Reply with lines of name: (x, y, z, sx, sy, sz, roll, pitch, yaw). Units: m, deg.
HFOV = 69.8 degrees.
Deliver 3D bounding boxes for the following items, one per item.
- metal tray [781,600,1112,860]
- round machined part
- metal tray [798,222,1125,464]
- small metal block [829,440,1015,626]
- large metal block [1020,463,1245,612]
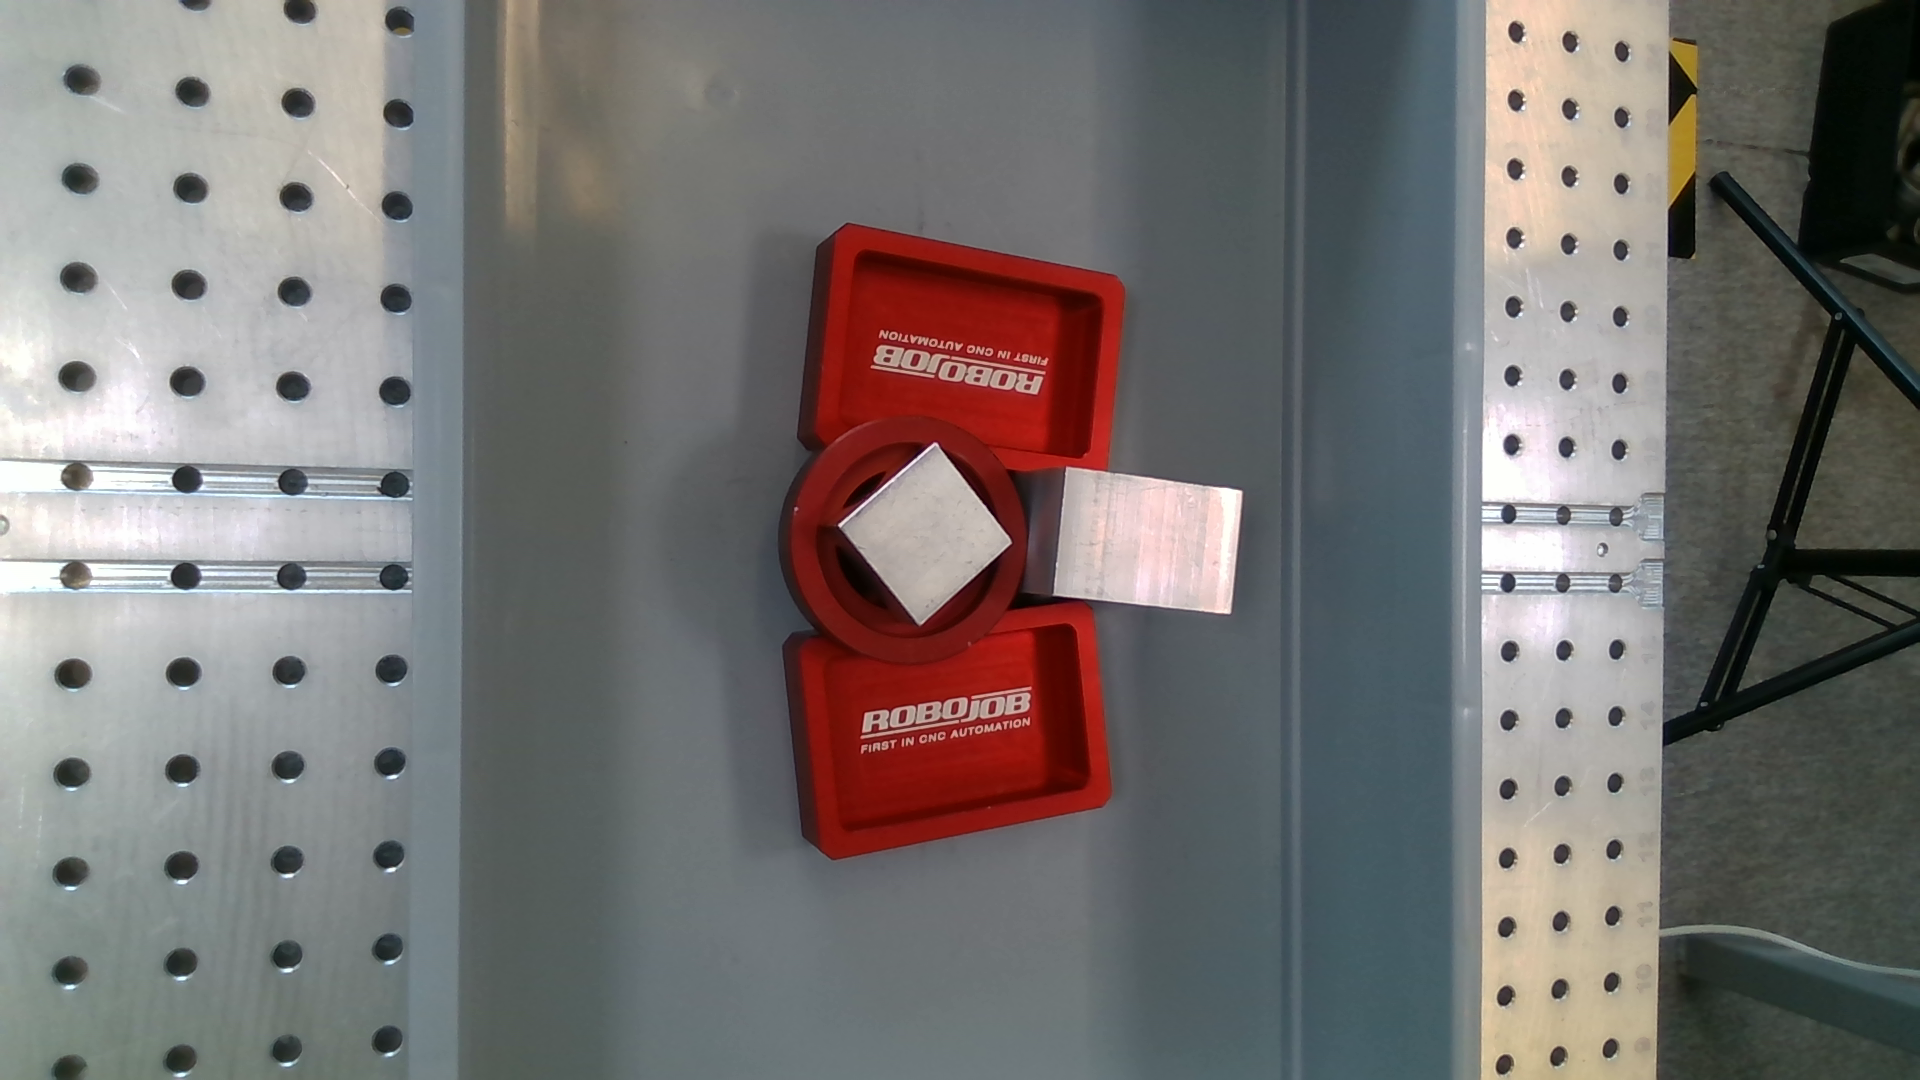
metal tray: (-0.004, 0.076, 0.581, 0.130, 0.030, 0.090, -7, 93, -20)
round machined part: (-0.026, 0.000, 0.556, 0.098, 0.042, 0.098, 0, 90, -20)
metal tray: (0.002, -0.076, 0.582, 0.130, 0.030, 0.090, 7, 88, -20)
small metal block: (-0.016, -0.003, 0.534, 0.050, 0.025, 0.050, -41, 103, -15)
large metal block: (0.061, 0.000, 0.578, 0.080, 0.080, 0.050, 7, 88, -20)
